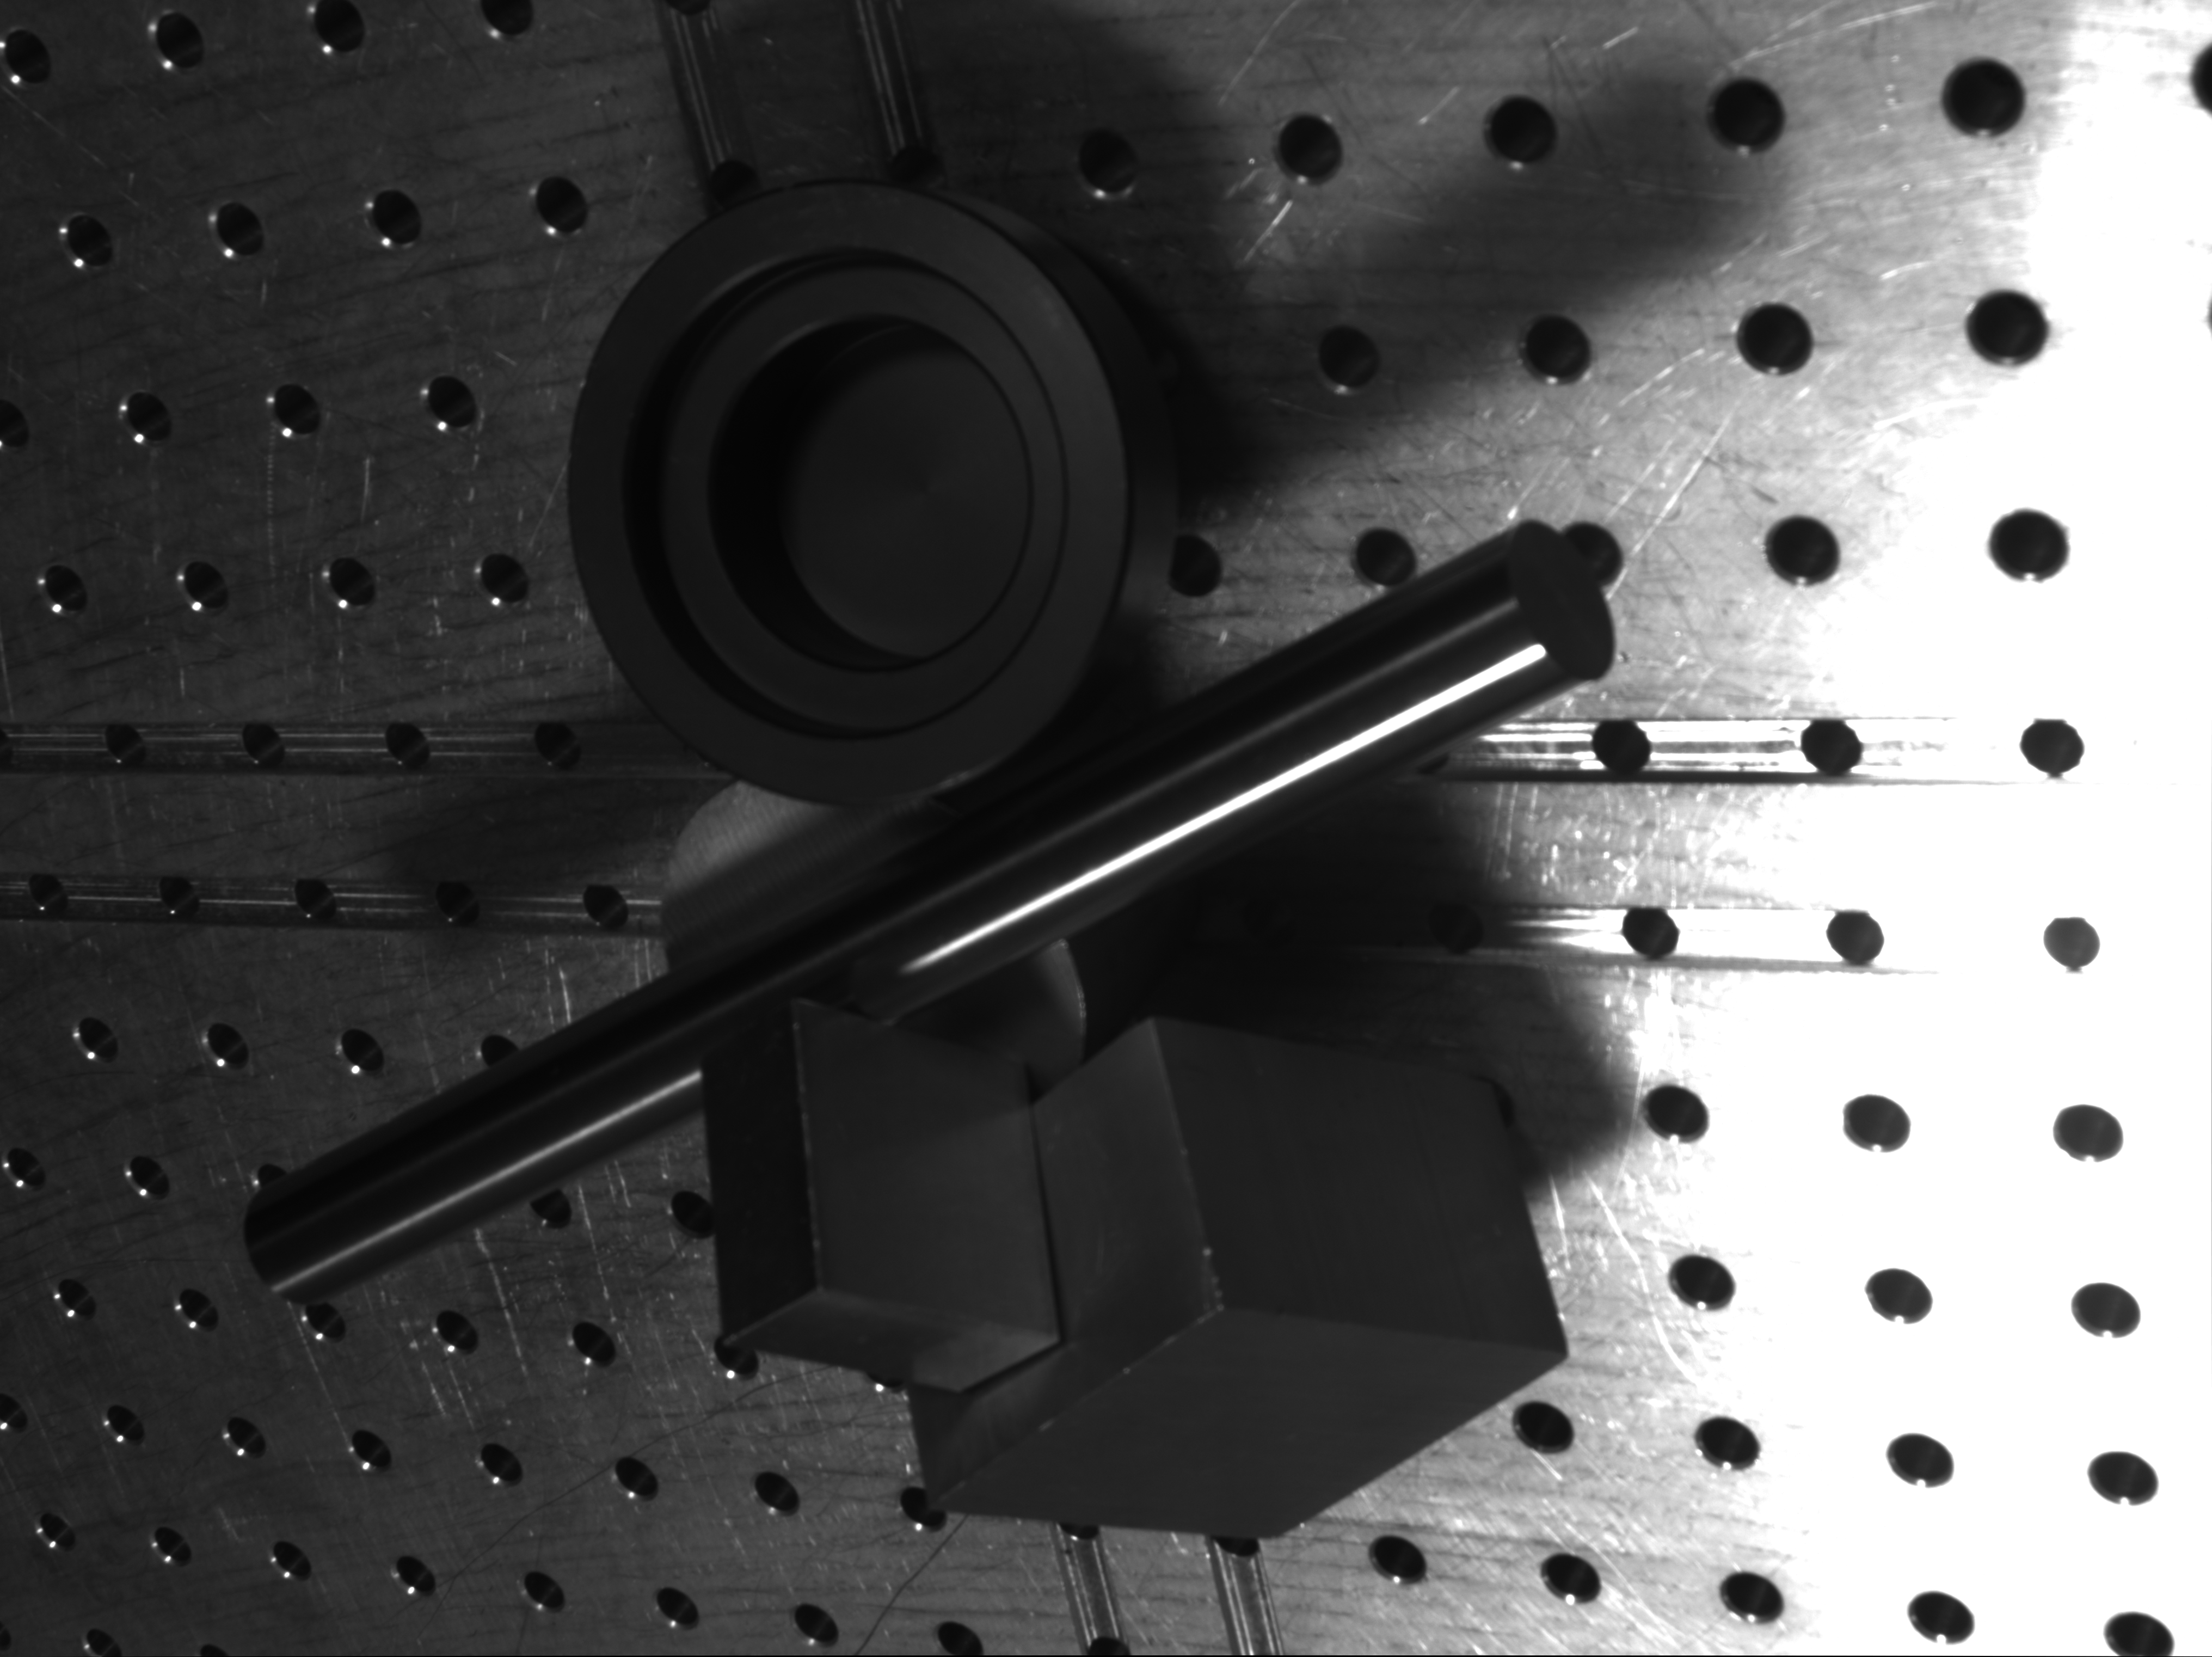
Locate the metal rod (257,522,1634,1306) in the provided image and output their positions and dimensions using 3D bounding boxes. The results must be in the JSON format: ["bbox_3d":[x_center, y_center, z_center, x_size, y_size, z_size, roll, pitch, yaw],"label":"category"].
[{"bbox_3d":[-0.041,0.023,0.604,0.299,0.025,0.025,-27,104,36],"label":"metal rod"}]

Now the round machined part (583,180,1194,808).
[{"bbox_3d":[-0.031,-0.054,0.592,0.098,0.042,0.098,2,97,21],"label":"round machined part"}]

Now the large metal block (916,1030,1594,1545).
[{"bbox_3d":[0.022,0.081,0.627,0.080,0.050,0.080,13,141,-38],"label":"large metal block"}]

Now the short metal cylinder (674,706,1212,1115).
[{"bbox_3d":[-0.028,0.013,0.639,0.080,0.050,0.080,12,123,20],"label":"short metal cylinder"}]

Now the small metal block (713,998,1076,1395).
[{"bbox_3d":[-0.034,0.060,0.594,0.050,0.050,0.025,19,141,-39],"label":"small metal block"}]
